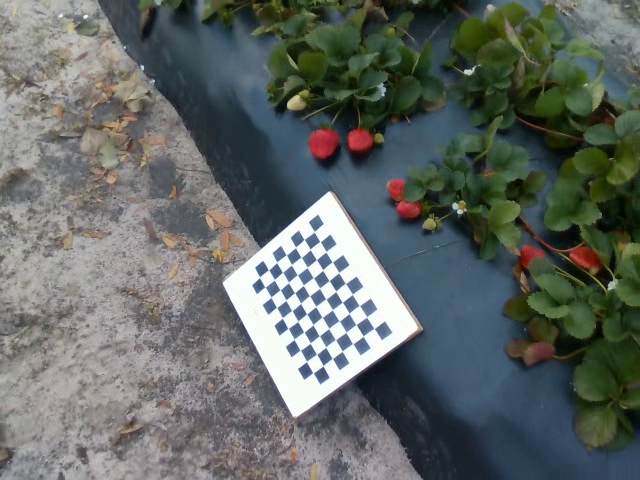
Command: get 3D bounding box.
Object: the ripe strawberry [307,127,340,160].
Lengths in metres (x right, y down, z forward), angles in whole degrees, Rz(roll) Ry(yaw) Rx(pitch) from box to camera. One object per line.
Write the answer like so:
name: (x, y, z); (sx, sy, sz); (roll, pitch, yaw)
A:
ripe strawberry: (0.007, -0.173, 1.194); (0.058, 0.065, 0.043); (-13, -32, 35)

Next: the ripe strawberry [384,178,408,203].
ripe strawberry: (0.137, -0.088, 1.130); (0.053, 0.047, 0.039); (27, 14, 0)

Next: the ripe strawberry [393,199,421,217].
ripe strawberry: (0.149, -0.056, 1.103); (0.049, 0.044, 0.041); (-13, -35, -37)

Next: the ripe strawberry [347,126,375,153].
ripe strawberry: (0.072, -0.178, 1.185); (0.050, 0.051, 0.060); (-19, 23, 33)
